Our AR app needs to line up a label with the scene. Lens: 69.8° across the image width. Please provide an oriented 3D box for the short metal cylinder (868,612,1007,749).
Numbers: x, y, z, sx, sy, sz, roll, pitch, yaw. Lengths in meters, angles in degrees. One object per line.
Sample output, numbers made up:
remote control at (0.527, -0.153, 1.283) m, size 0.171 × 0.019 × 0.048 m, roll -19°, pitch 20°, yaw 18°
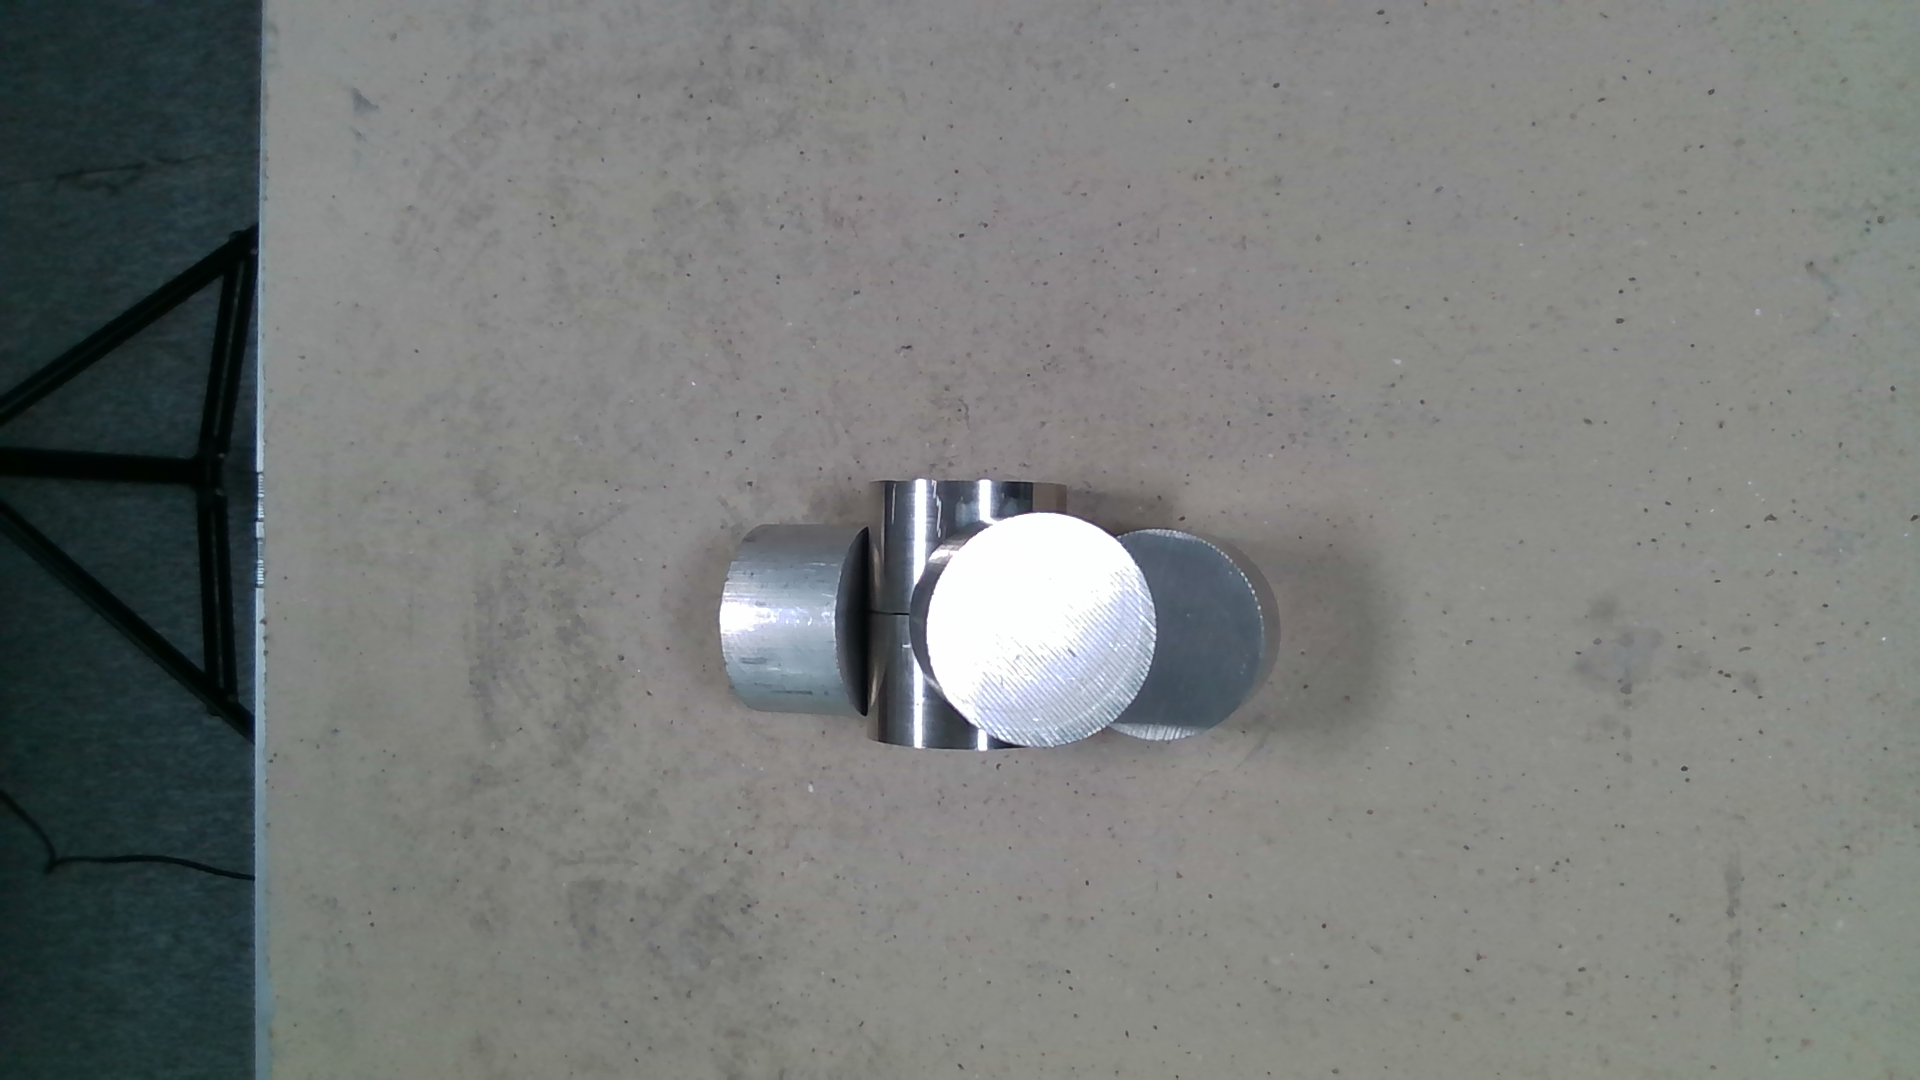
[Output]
short metal cylinder at (0.002, 0.054, 0.556) m, size 0.080 × 0.080 × 0.050 m, roll 0°, pitch 90°, yaw 20°

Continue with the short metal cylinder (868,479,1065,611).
short metal cylinder at (0.002, 0.002, 0.556) m, size 0.080 × 0.080 × 0.050 m, roll 1°, pitch 91°, yaw 20°

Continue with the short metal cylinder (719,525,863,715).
short metal cylinder at (-0.059, 0.033, 0.579) m, size 0.050 × 0.080 × 0.080 m, roll 0°, pitch 90°, yaw 20°

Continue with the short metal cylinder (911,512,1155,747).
short metal cylinder at (0.024, 0.030, 0.493) m, size 0.080 × 0.050 × 0.080 m, roll 0°, pitch 91°, yaw -8°

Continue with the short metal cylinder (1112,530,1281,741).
short metal cylinder at (0.083, 0.036, 0.543) m, size 0.080 × 0.050 × 0.080 m, roll 0°, pitch 90°, yaw 20°
